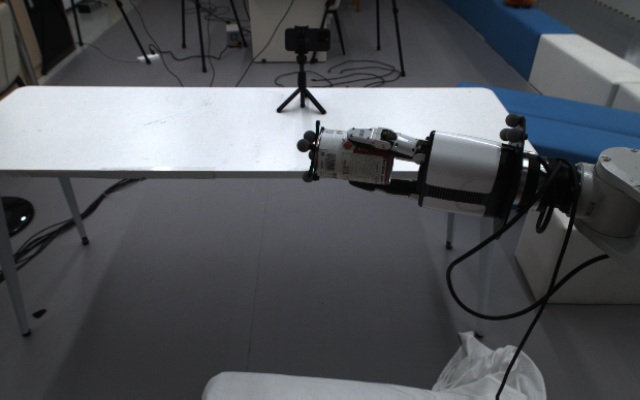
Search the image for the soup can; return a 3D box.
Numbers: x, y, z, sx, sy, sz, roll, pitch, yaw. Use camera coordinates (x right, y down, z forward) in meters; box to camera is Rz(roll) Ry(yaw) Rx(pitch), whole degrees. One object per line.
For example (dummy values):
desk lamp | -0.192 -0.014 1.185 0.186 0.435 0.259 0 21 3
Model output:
soup can | 0.051 -0.059 0.662 0.101 0.067 0.067 8 35 9
